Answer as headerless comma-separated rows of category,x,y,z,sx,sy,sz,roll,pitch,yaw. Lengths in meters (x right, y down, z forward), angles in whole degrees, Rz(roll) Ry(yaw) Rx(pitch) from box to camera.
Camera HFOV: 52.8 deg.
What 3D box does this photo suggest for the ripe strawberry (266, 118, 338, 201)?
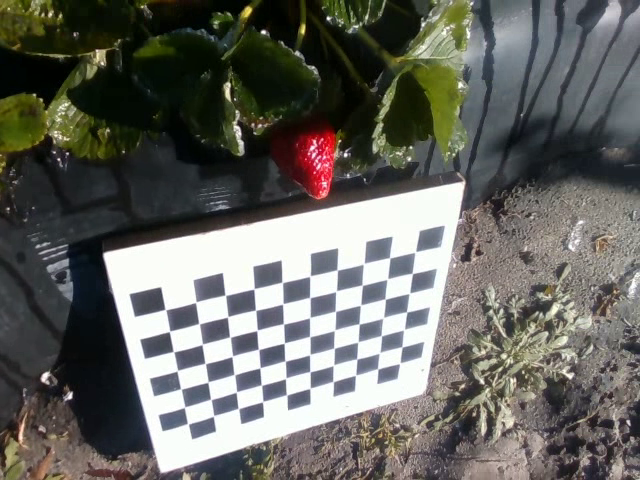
ripe strawberry,-0.006,-0.052,0.444,0.048,0.061,0.044,-18,9,-11
